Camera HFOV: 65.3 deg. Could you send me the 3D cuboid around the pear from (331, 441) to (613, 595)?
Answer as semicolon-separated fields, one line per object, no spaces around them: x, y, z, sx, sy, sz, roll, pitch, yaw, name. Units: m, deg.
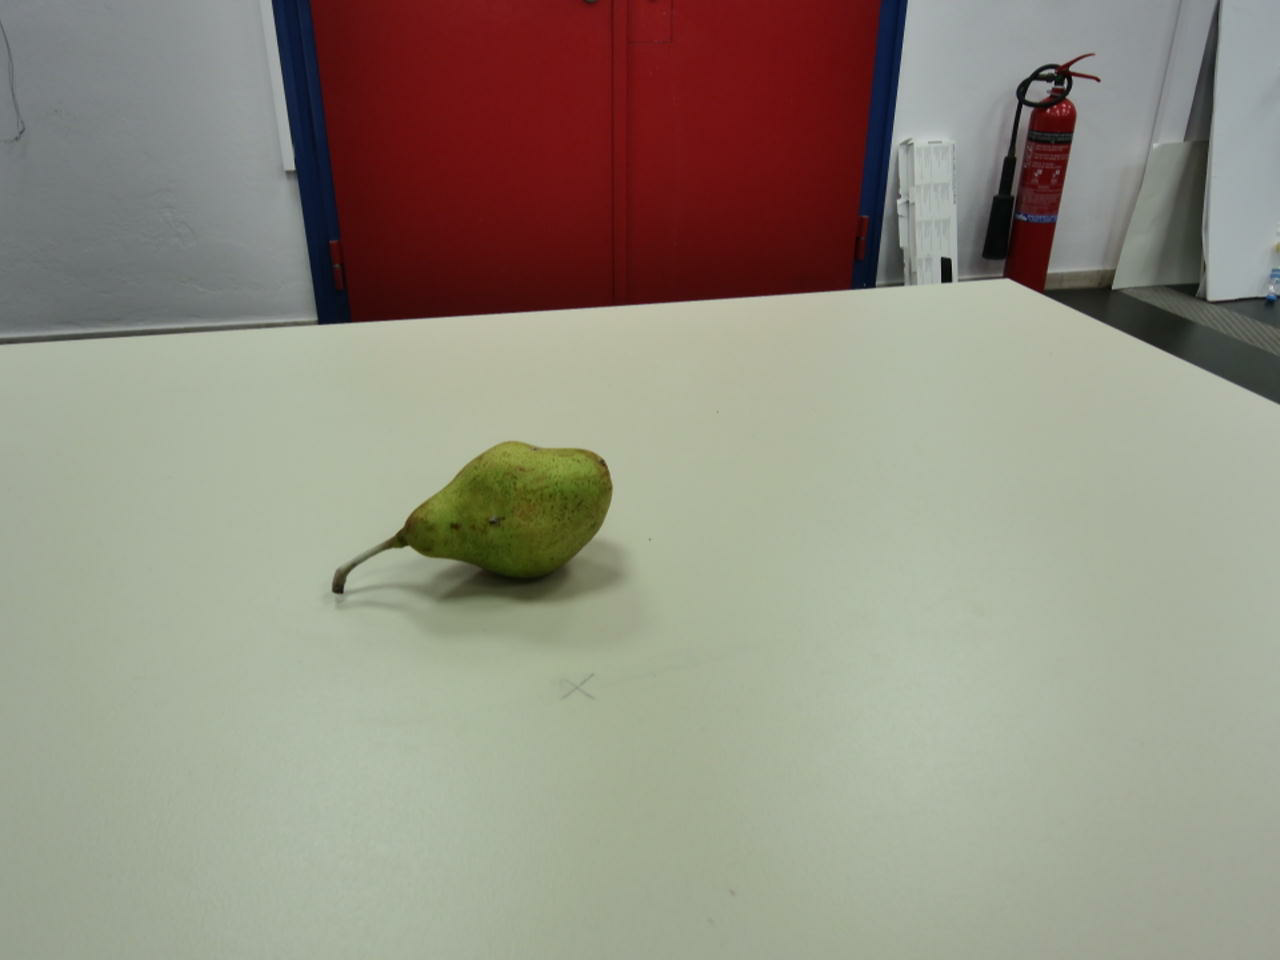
-0.066;0.012;0.408;0.111;0.056;0.056;1;24;2;pear
